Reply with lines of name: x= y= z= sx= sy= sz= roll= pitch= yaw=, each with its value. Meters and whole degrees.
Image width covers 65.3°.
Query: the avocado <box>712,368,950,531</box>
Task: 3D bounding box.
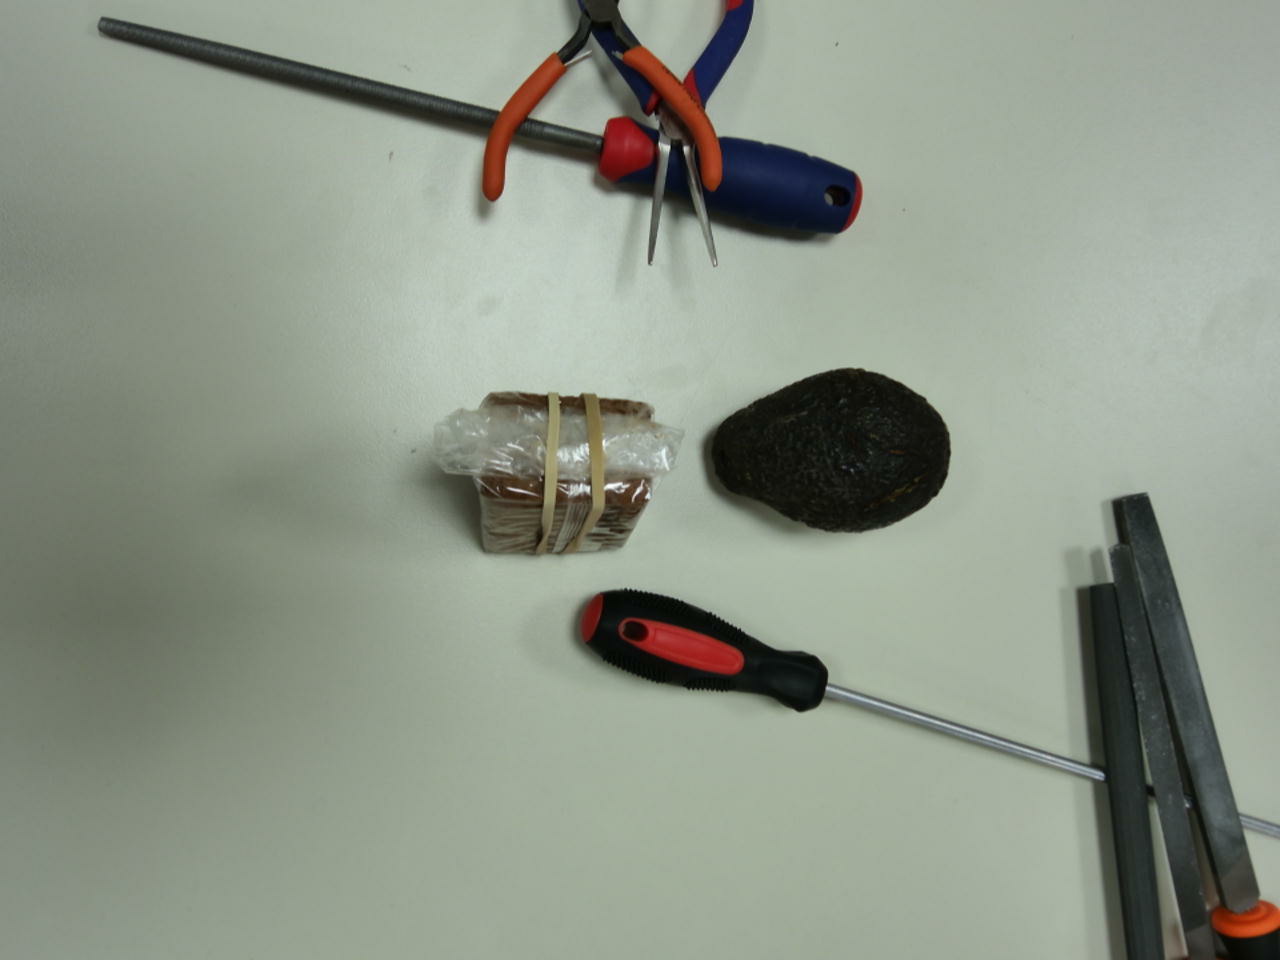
avocado: x=0.082 y=-0.015 z=0.420 sx=0.090 sy=0.069 sz=0.070 roll=25 pitch=85 yaw=-11
